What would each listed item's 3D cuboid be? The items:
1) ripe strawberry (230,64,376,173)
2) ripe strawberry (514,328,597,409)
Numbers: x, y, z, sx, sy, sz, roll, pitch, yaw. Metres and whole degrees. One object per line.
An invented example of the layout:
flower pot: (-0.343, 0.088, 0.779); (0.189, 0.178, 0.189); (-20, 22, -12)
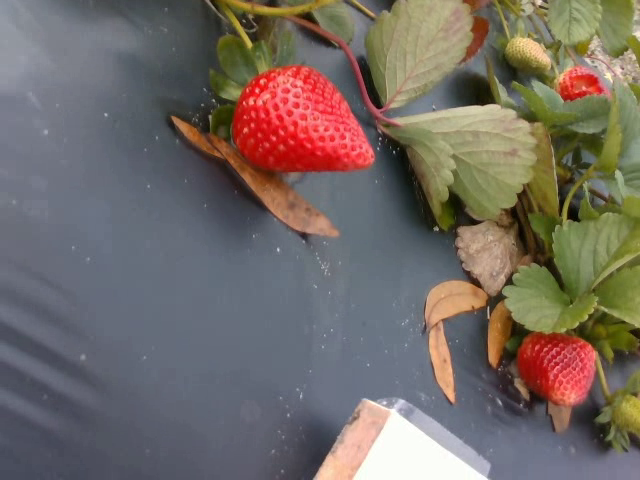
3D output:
ripe strawberry: (-0.002, -0.039, 0.219); (0.065, 0.047, 0.043); (32, -16, 35)
ripe strawberry: (0.107, 0.061, 0.260); (0.037, 0.041, 0.042); (-33, 15, 23)
